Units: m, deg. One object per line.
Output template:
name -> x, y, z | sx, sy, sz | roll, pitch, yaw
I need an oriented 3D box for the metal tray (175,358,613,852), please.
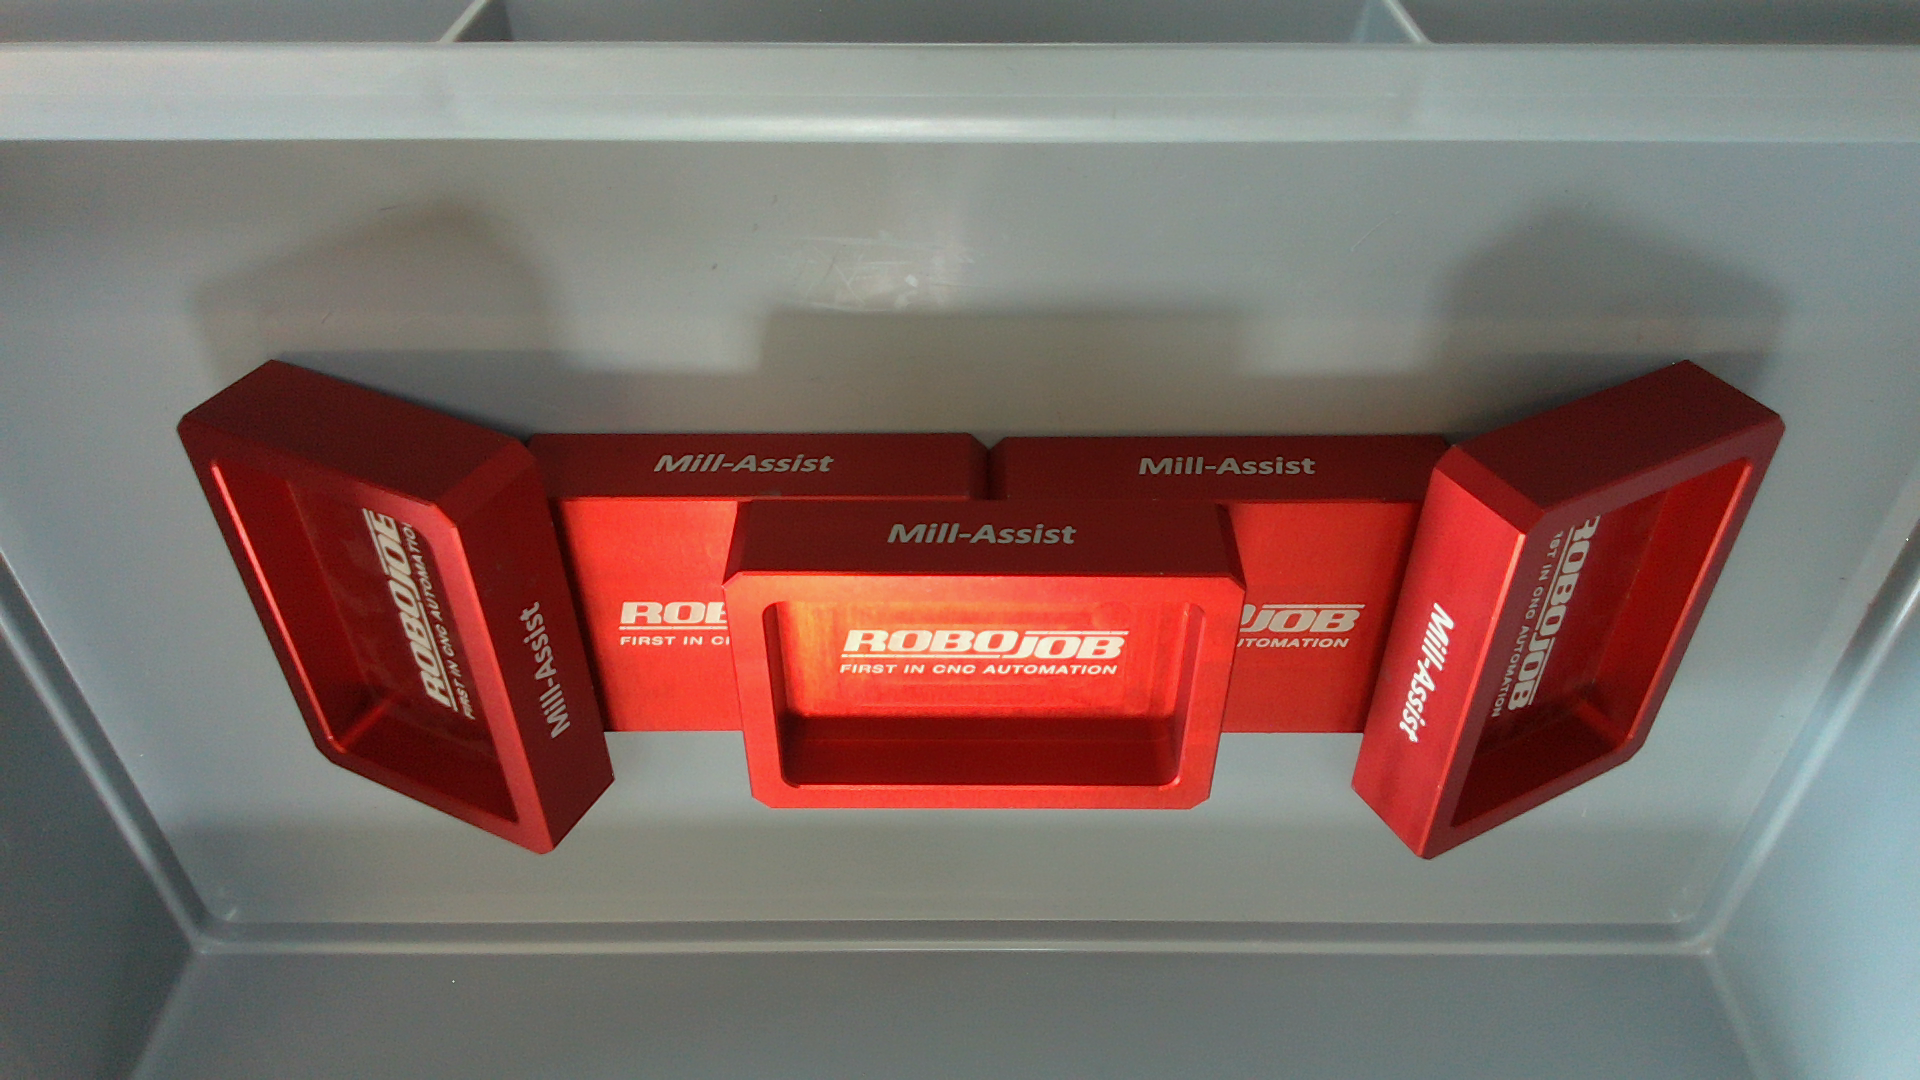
metal tray -> -0.151, 0.021, 0.380 | 0.090, 0.030, 0.130 | 17, 133, 19

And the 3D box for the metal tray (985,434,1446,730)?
metal tray -> 0.072, 0.014, 0.399 | 0.130, 0.030, 0.090 | 0, 130, 0

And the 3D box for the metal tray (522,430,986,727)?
metal tray -> -0.058, 0.013, 0.398 | 0.130, 0.030, 0.090 | 0, 130, 0

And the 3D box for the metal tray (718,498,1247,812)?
metal tray -> 0.006, 0.033, 0.374 | 0.130, 0.030, 0.090 | 0, 130, 0

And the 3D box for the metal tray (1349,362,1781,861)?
metal tray -> 0.162, 0.023, 0.381 | 0.090, 0.030, 0.130 | -19, 134, -21
